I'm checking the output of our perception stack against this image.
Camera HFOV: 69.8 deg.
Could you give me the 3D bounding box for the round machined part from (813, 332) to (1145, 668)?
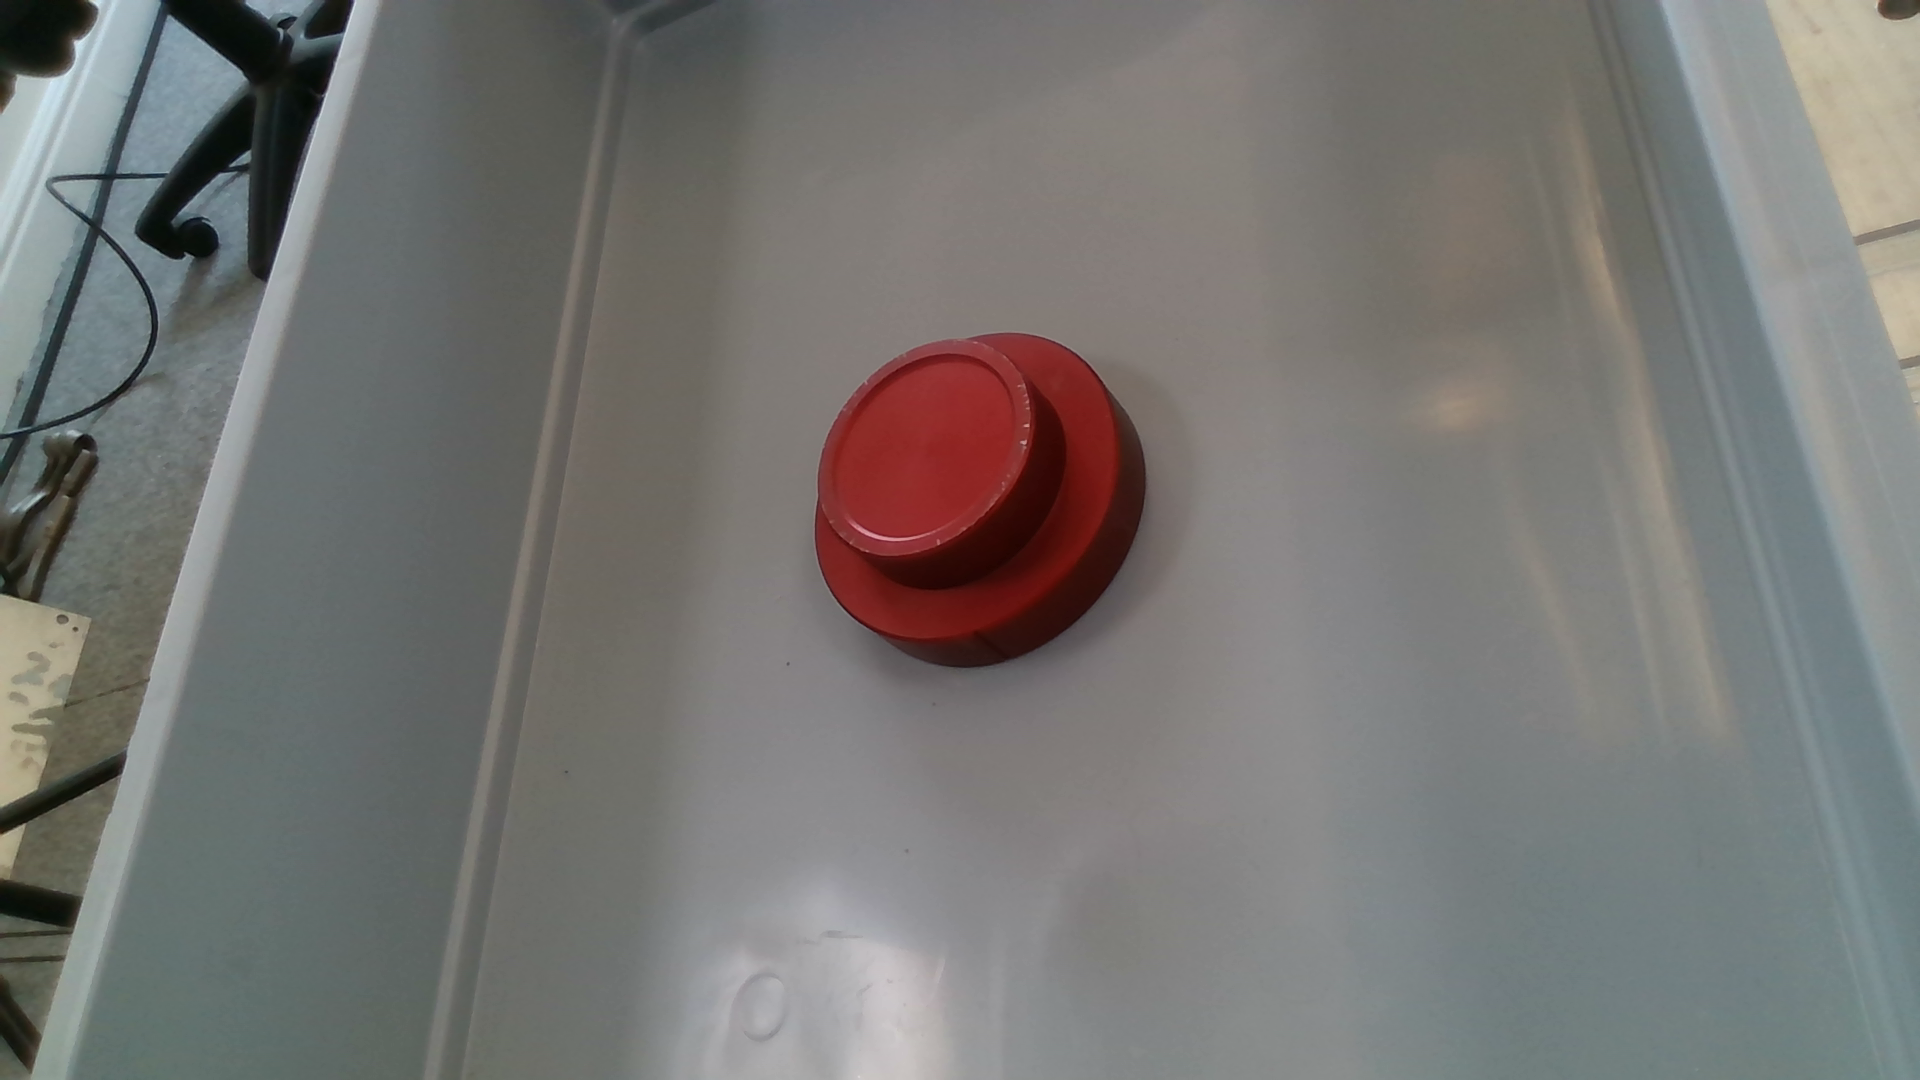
[{"bbox_3d":[-0.001,-0.017,0.388,0.098,0.042,0.098,-14,59,25],"label":"round machined part"}]
